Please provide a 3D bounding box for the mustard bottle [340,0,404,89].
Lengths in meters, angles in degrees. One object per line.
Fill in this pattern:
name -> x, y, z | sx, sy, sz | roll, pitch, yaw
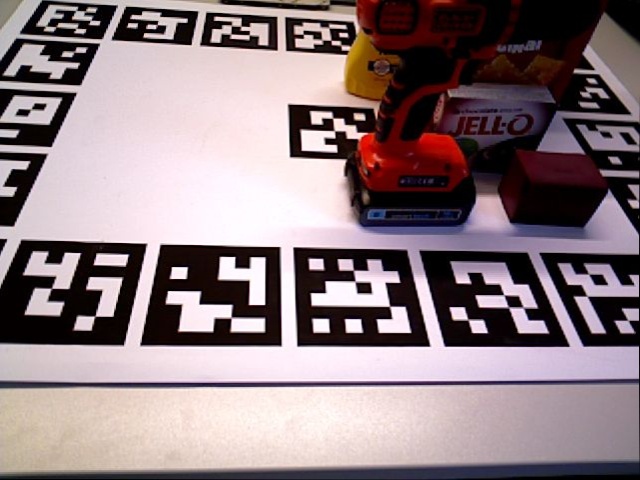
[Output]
mustard bottle -> 0.080, -0.263, 0.588 | 0.096, 0.196, 0.057 | 11, 48, 3

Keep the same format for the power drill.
power drill -> 0.114, -0.123, 0.434 | 0.183, 0.191, 0.056 | 1, 44, -8

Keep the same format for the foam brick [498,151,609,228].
foam brick -> 0.220, -0.048, 0.520 | 0.077, 0.052, 0.052 | 3, 49, -5

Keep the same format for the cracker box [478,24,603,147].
cracker box -> 0.173, -0.191, 0.525 | 0.163, 0.218, 0.071 | -1, 46, -6

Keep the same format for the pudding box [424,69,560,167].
pudding box -> 0.163, -0.119, 0.532 | 0.113, 0.092, 0.038 | 0, 46, -3
